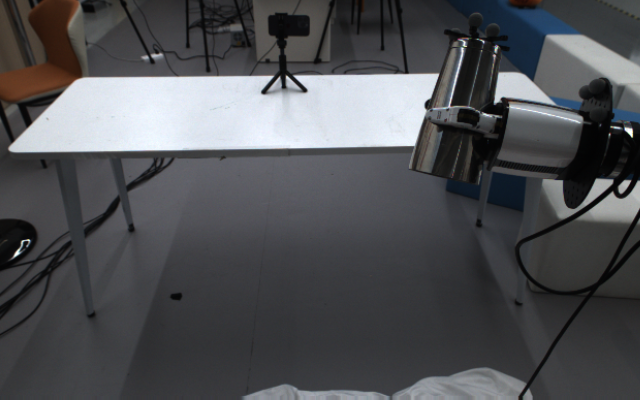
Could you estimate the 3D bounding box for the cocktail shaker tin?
[{"bbox_3d":[0.180,-0.113,0.622,0.093,0.170,0.093,13,4,-1],"label":"cocktail shaker tin"}]
